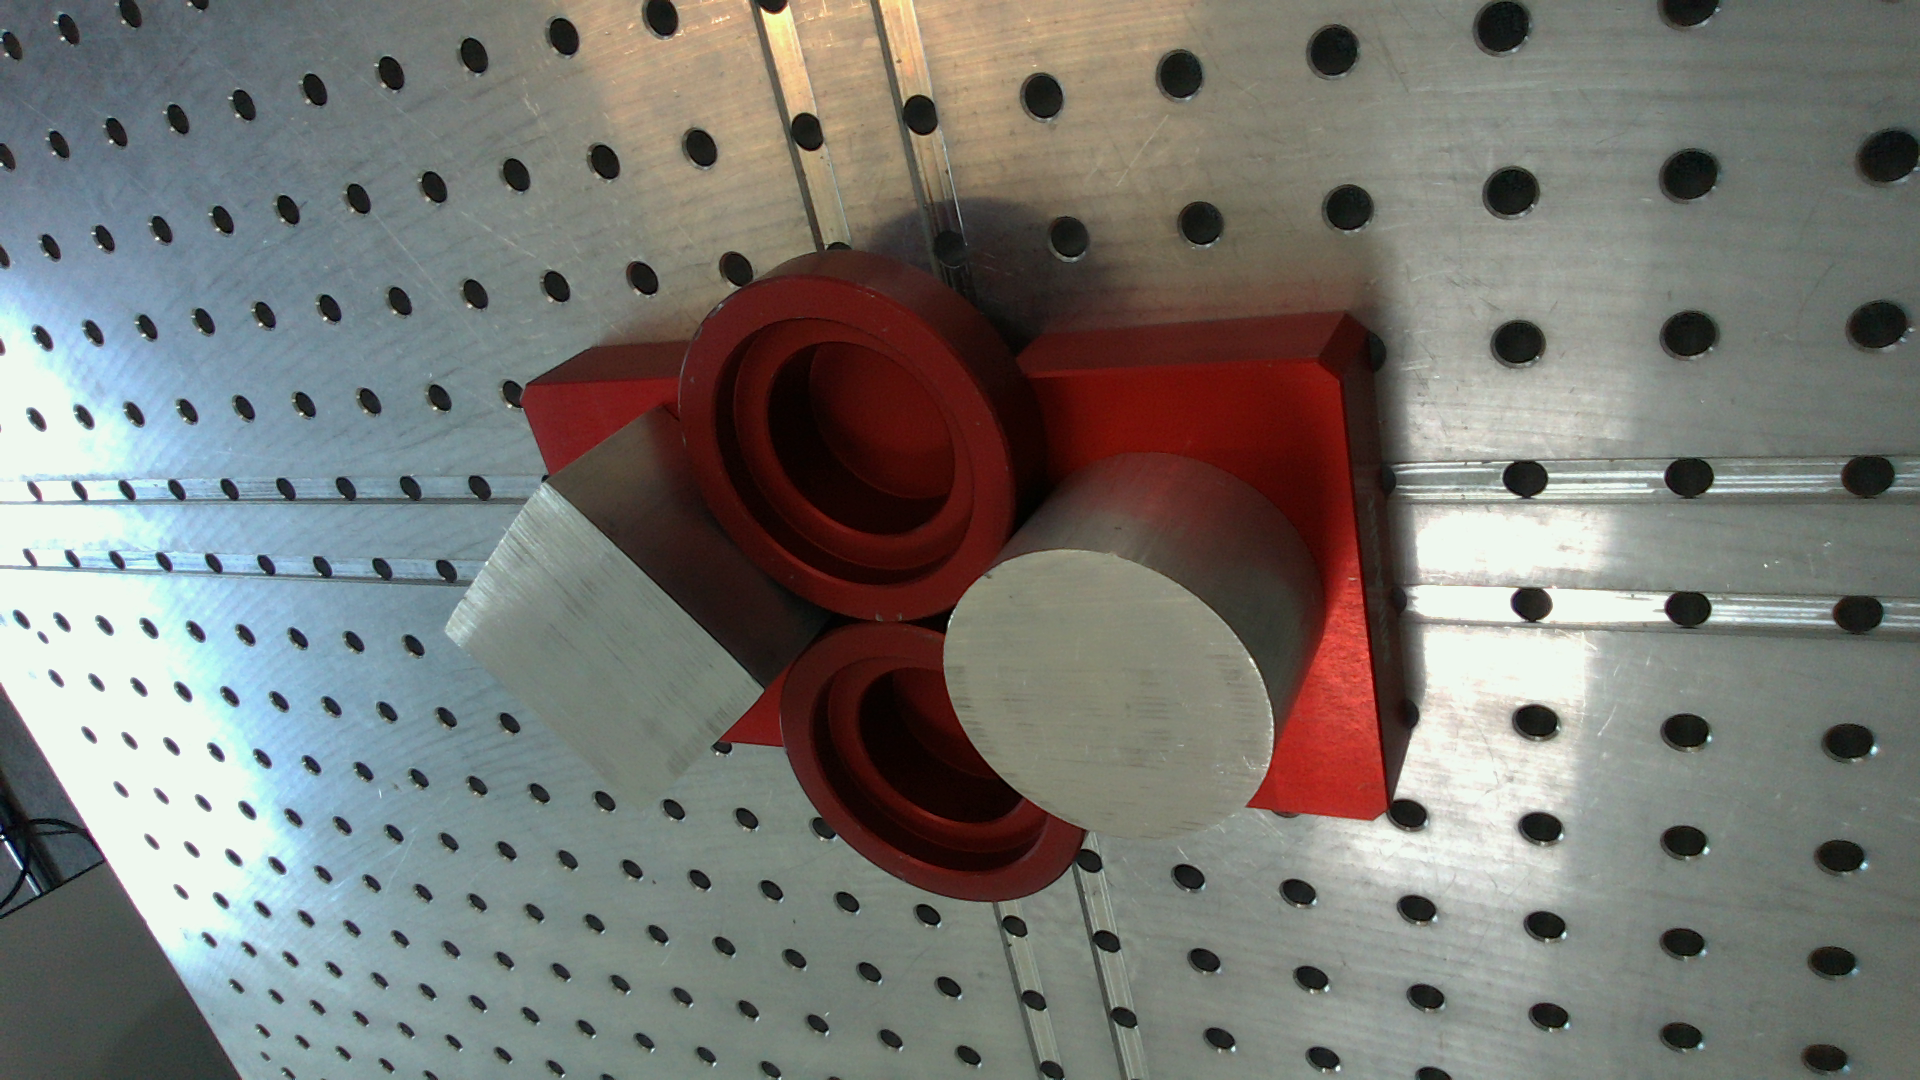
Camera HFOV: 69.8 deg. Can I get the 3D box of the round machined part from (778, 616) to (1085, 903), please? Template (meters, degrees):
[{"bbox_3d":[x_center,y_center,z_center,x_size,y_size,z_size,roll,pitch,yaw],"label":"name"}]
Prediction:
[{"bbox_3d":[-0.001,0.056,0.408,0.098,0.042,0.098,13,124,21],"label":"round machined part"}]

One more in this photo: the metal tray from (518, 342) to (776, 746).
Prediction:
[{"bbox_3d":[-0.076,0.003,0.435,0.090,0.030,0.130,0,119,27],"label":"metal tray"}]

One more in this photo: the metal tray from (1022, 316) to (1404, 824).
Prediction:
[{"bbox_3d":[0.064,0.010,0.362,0.090,0.030,0.130,1,119,28],"label":"metal tray"}]

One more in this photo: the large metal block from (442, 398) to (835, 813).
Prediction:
[{"bbox_3d":[-0.091,0.020,0.402,0.080,0.050,0.080,45,130,-3],"label":"large metal block"}]

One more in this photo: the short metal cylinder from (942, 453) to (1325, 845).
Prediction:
[{"bbox_3d":[0.043,0.026,0.333,0.080,0.050,0.080,13,124,21],"label":"short metal cylinder"}]

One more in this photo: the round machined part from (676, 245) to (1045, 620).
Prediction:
[{"bbox_3d":[-0.023,-0.031,0.366,0.098,0.042,0.098,13,124,21],"label":"round machined part"}]
